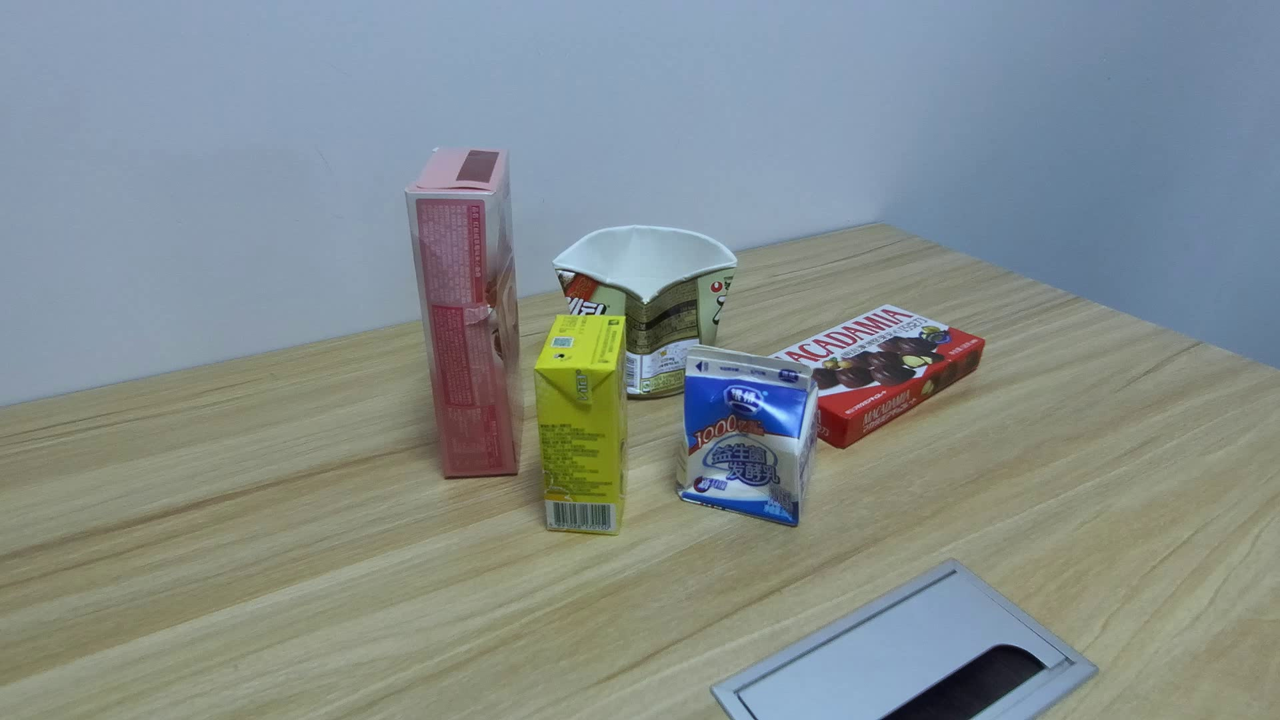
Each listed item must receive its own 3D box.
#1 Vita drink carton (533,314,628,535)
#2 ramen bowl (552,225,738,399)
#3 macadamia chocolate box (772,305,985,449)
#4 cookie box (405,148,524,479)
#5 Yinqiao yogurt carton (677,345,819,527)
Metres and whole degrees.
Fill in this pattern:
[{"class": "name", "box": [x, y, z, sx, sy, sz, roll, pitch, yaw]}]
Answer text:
[{"class": "Vita drink carton", "box": [-0.031, 0.036, 0.403, 0.043, 0.109, 0.066, 1, 29, 4]}, {"class": "ramen bowl", "box": [0.009, -0.043, 0.555, 0.137, 0.098, 0.137, 2, 29, -1]}, {"class": "macadamia chocolate box", "box": [0.176, 0.005, 0.546, 0.178, 0.027, 0.095, -21, 35, -32]}, {"class": "cookie box", "box": [-0.102, -0.027, 0.438, 0.049, 0.187, 0.105, -2, 29, -5]}, {"class": "Yinqiao yogurt carton", "box": [0.065, 0.035, 0.417, 0.077, 0.094, 0.071, 9, 36, 18]}]
